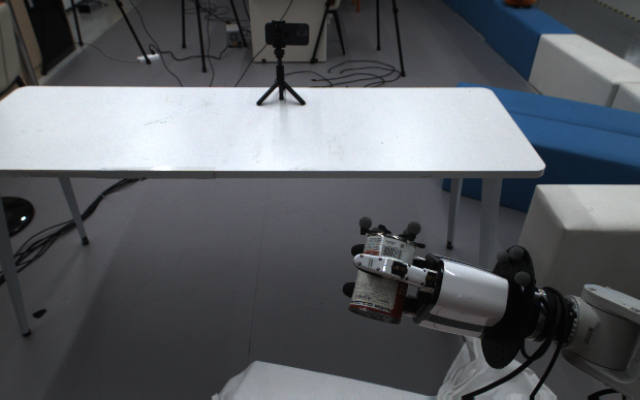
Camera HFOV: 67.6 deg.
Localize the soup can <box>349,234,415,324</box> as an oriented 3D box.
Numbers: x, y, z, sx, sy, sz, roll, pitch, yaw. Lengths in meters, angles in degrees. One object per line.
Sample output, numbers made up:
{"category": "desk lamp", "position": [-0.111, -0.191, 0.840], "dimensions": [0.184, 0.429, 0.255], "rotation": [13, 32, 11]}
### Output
{"category": "soup can", "position": [0.084, 0.101, 0.625], "dimensions": [0.067, 0.067, 0.101], "rotation": [11, 72, 13]}
